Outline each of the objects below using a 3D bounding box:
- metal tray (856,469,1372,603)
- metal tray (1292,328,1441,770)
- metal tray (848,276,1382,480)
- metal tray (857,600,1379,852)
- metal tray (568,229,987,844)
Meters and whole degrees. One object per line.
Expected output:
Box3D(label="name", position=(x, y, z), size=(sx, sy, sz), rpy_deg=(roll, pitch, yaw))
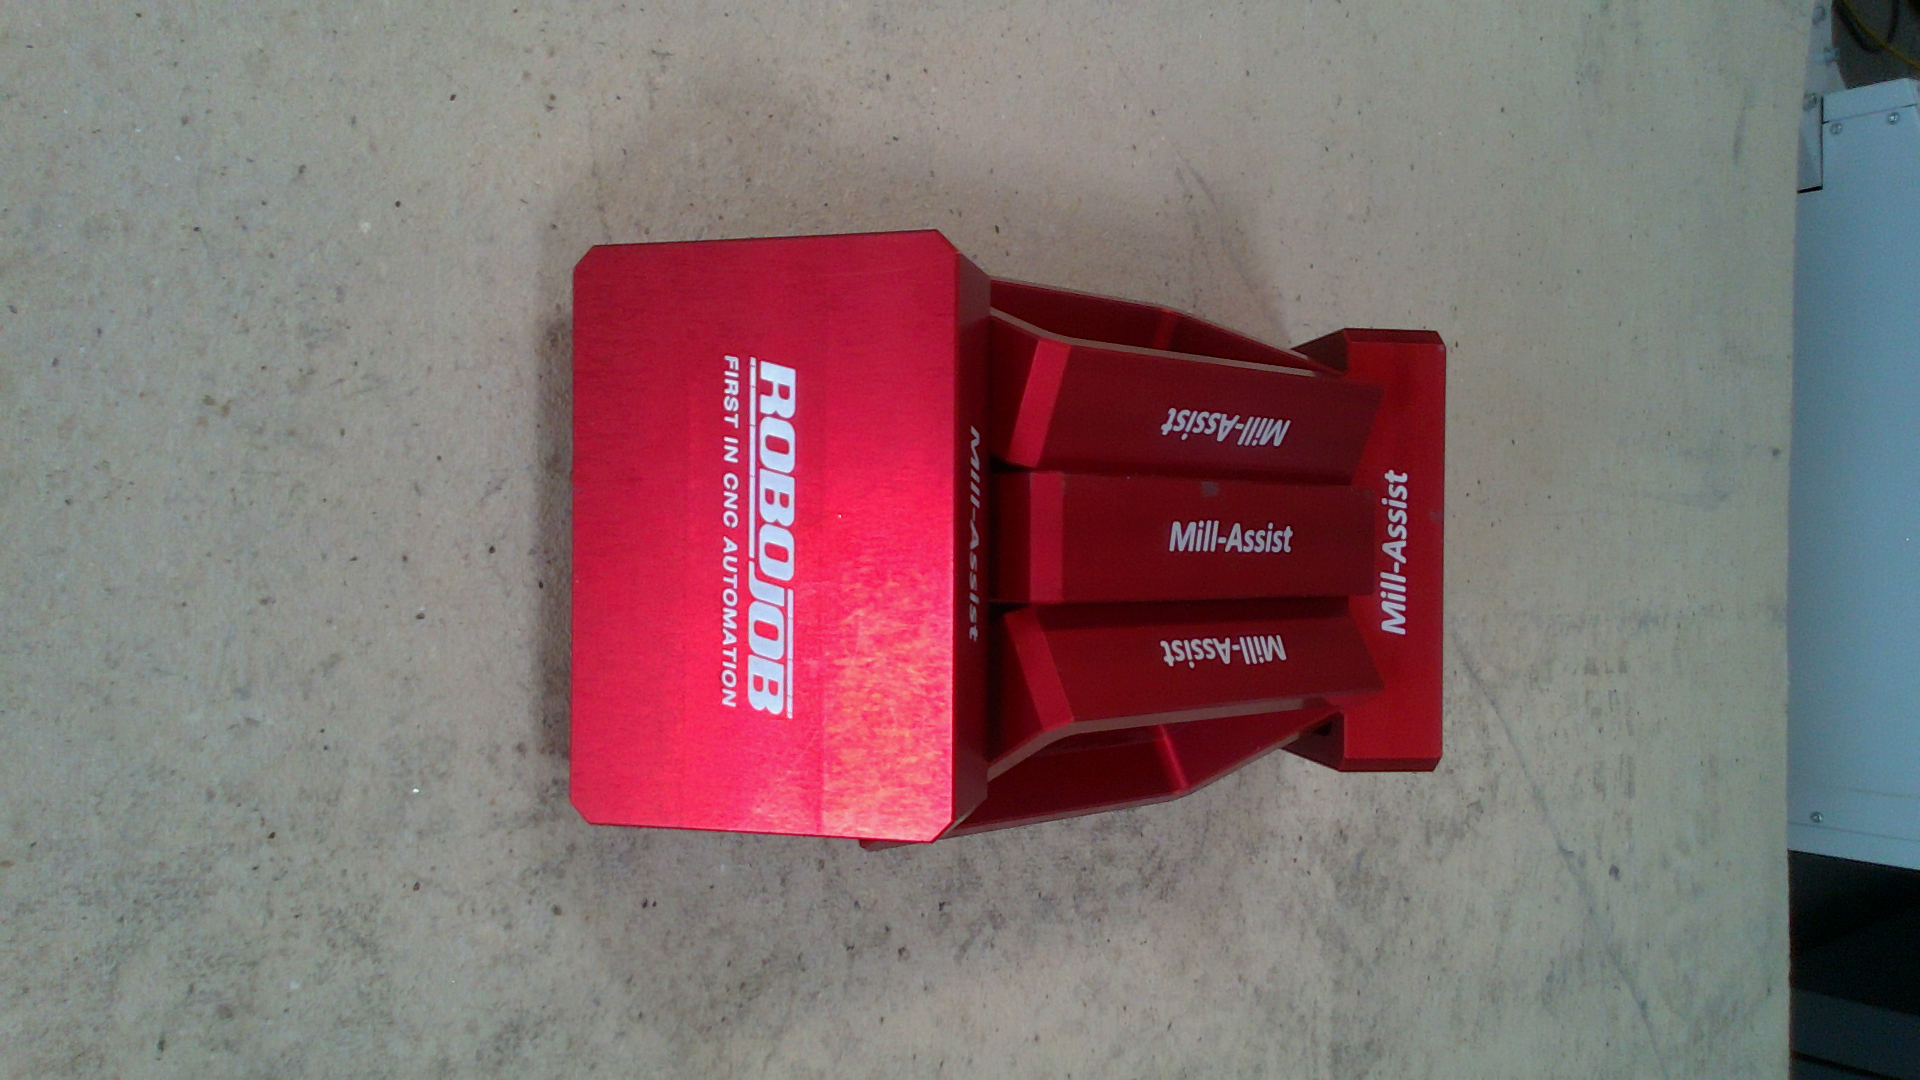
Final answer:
Box3D(label="metal tray", position=(0.040, -0.001, 0.380), size=(0.131, 0.090, 0.030), rpy_deg=(0, 90, -40))
Box3D(label="metal tray", position=(0.120, 0.003, 0.446), size=(0.030, 0.090, 0.130), rpy_deg=(1, 90, -8))
Box3D(label="metal tray", position=(0.041, -0.046, 0.378), size=(0.131, 0.090, 0.030), rpy_deg=(0, 112, -40))
Box3D(label="metal tray", position=(0.041, 0.050, 0.380), size=(0.131, 0.090, 0.030), rpy_deg=(1, 60, -40))
Box3D(label="metal tray", position=(-0.041, -0.001, 0.314), size=(0.030, 0.090, 0.130), rpy_deg=(1, 90, -76))
